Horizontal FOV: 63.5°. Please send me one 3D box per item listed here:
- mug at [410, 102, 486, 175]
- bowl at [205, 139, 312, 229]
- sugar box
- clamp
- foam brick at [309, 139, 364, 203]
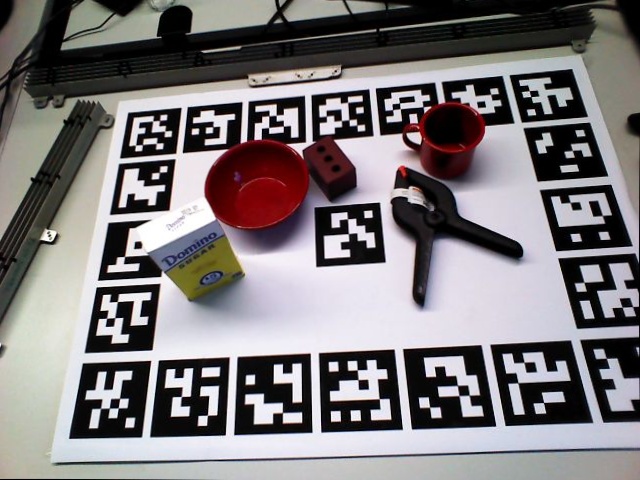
[{"bbox_3d":[0.191,-0.154,0.772,0.117,0.082,0.093,20,69,12],"label":"mug"},{"bbox_3d":[-0.090,-0.077,0.790,0.162,0.055,0.161,-3,65,5],"label":"bowl"},{"bbox_3d":[-0.165,0.023,0.686,0.093,0.177,0.045,-27,66,-7],"label":"sugar box"},{"bbox_3d":[0.166,-0.029,0.737,0.165,0.037,0.202,-27,65,-3],"label":"clamp"},{"bbox_3d":[0.026,-0.108,0.798,0.053,0.051,0.078,-30,66,-6],"label":"foam brick"}]
